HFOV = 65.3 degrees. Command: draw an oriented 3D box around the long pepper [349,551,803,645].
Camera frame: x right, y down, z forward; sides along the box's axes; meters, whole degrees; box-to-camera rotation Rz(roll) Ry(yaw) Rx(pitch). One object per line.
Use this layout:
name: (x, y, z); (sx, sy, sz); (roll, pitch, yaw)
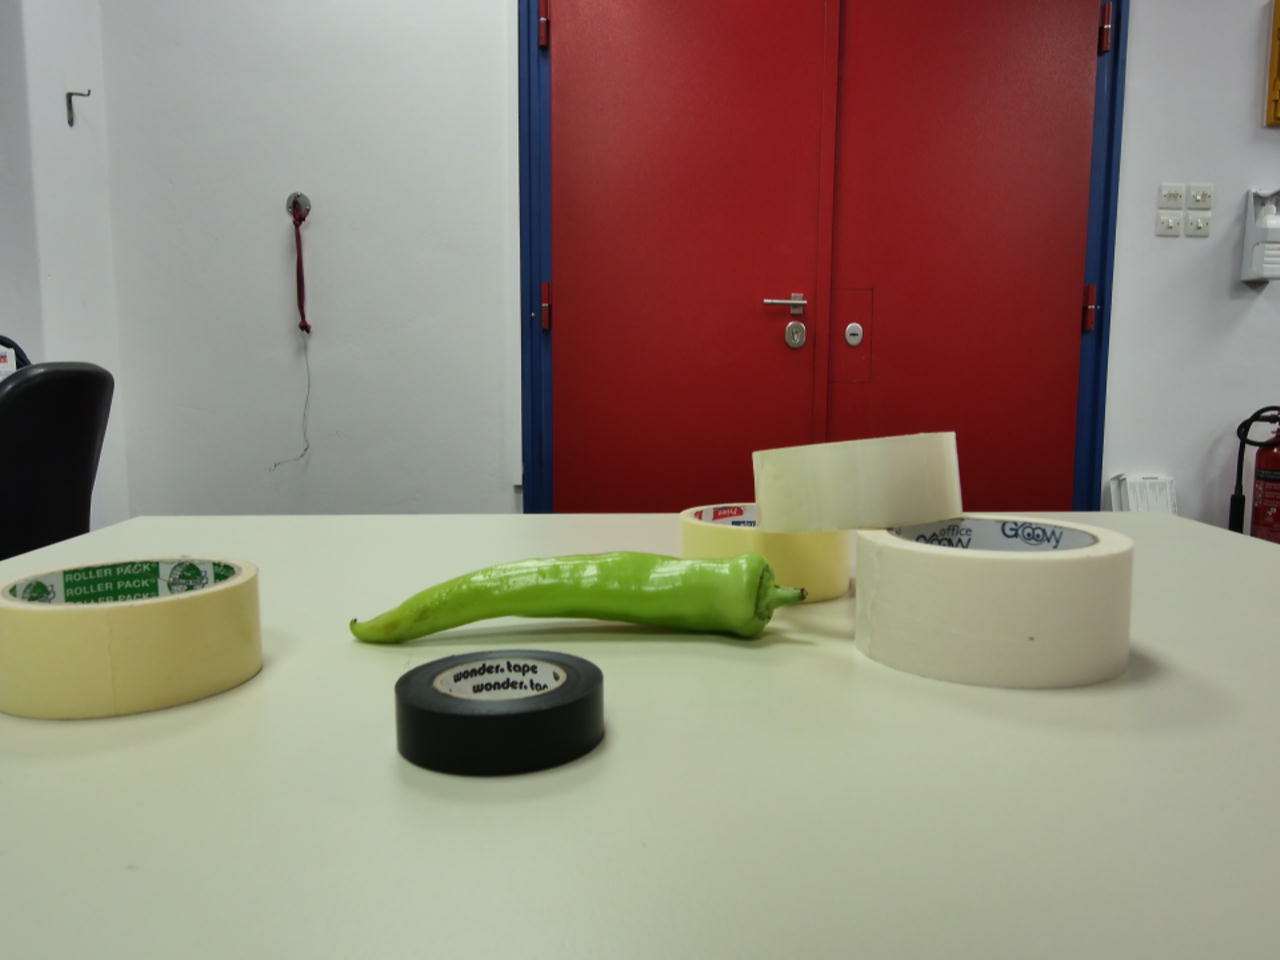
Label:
long pepper: (-0.028, 0.050, 0.441); (0.197, 0.038, 0.047); (0, 4, 2)
